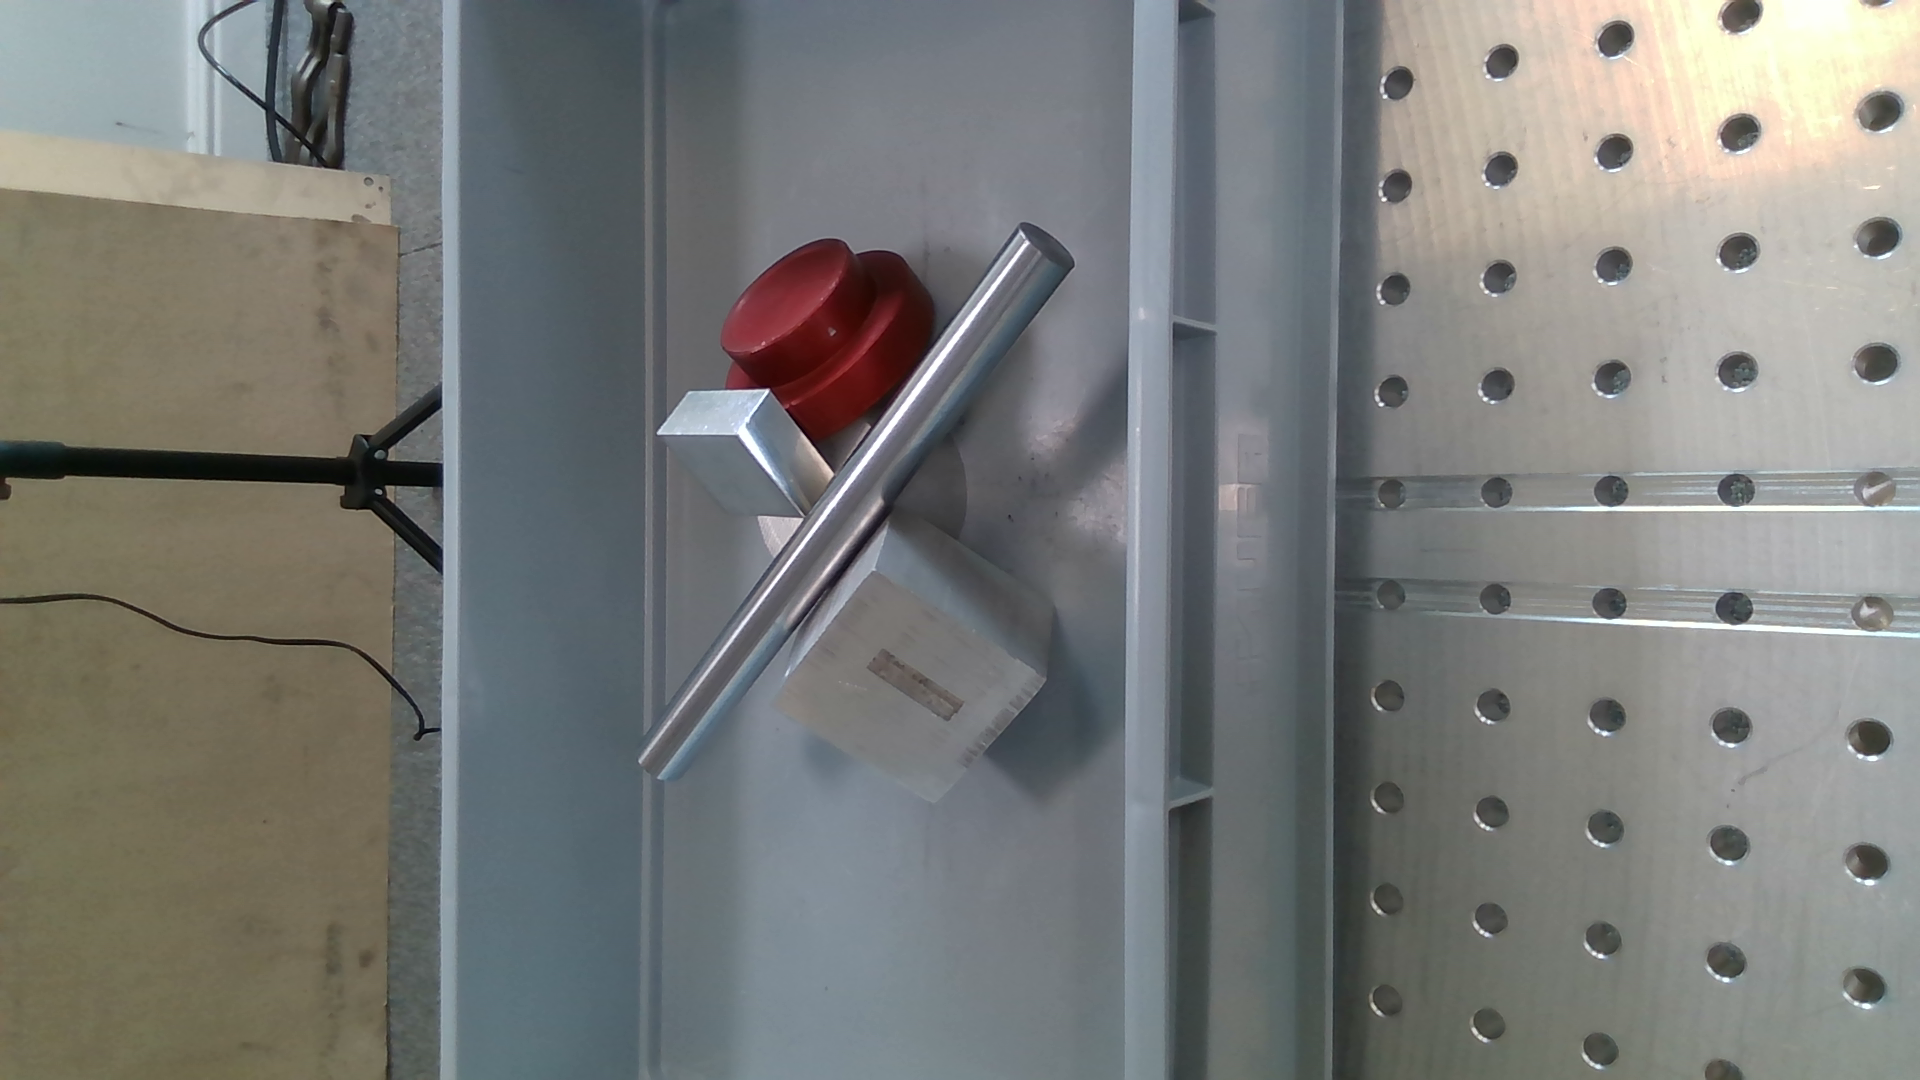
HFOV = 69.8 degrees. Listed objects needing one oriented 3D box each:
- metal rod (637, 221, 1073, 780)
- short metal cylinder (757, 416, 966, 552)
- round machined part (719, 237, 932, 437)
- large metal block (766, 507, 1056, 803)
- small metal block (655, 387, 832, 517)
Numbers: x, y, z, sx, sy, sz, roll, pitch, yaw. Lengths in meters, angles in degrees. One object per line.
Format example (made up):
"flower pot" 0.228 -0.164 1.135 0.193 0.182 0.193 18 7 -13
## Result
"metal rod" -0.053 -0.003 0.560 0.301 0.025 0.025 -51 60 28
"short metal cylinder" -0.044 -0.021 0.601 0.080 0.050 0.080 0 91 40
"round machined part" -0.063 -0.091 0.589 0.098 0.042 0.098 -26 37 22
"large metal block" -0.019 0.046 0.553 0.080 0.050 0.080 32 119 -11
"small metal block" -0.089 -0.036 0.571 0.050 0.050 0.025 4 52 40
